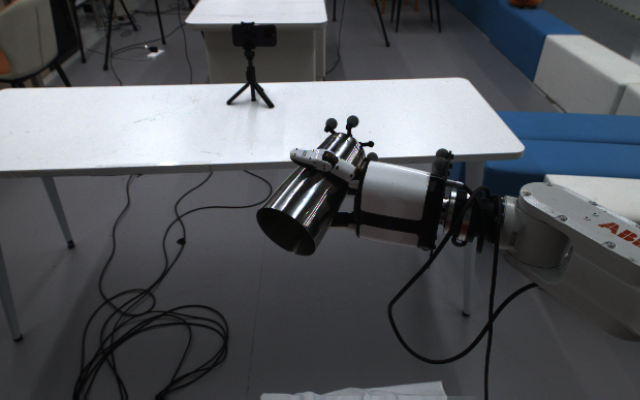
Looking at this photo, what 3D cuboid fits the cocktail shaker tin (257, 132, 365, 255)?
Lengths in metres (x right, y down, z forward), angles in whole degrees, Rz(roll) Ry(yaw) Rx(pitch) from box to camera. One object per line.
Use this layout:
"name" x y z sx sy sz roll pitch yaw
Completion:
"cocktail shaker tin" -0.001 -0.020 0.672 0.093 0.093 0.170 19 55 22
